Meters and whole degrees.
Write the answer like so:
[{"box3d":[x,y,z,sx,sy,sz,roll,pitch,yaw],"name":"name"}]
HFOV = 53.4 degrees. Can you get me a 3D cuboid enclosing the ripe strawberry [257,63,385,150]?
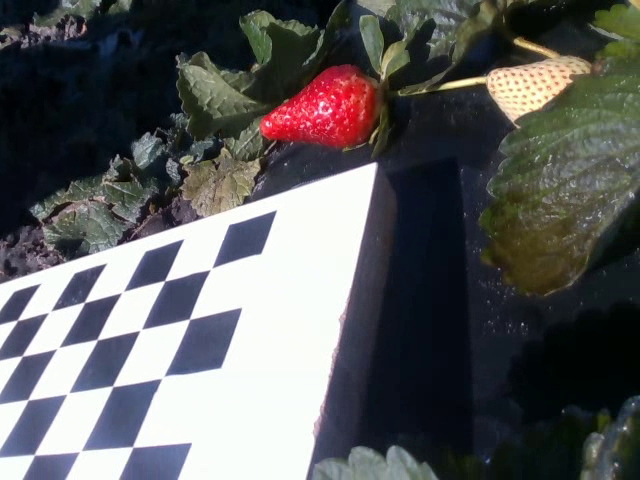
[{"box3d":[-0.001,-0.060,0.294,0.068,0.040,0.048,-22,35,11],"name":"ripe strawberry"}]
